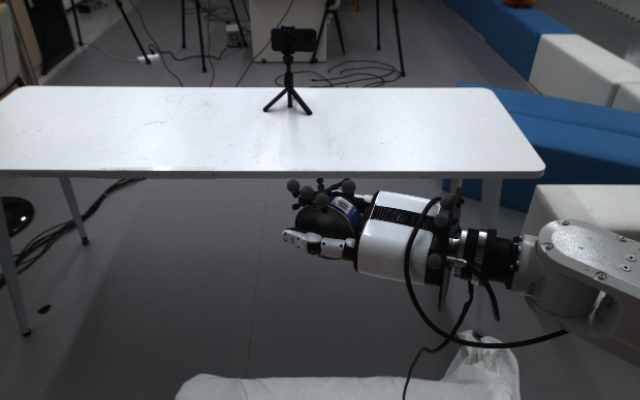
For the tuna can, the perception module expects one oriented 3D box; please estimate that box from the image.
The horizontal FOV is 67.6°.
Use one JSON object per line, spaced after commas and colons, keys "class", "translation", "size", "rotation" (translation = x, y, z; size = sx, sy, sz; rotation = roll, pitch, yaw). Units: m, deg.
{"class": "tuna can", "translation": [0.015, 0.033, 0.634], "size": [0.085, 0.085, 0.034], "rotation": [17, 37, 20]}
